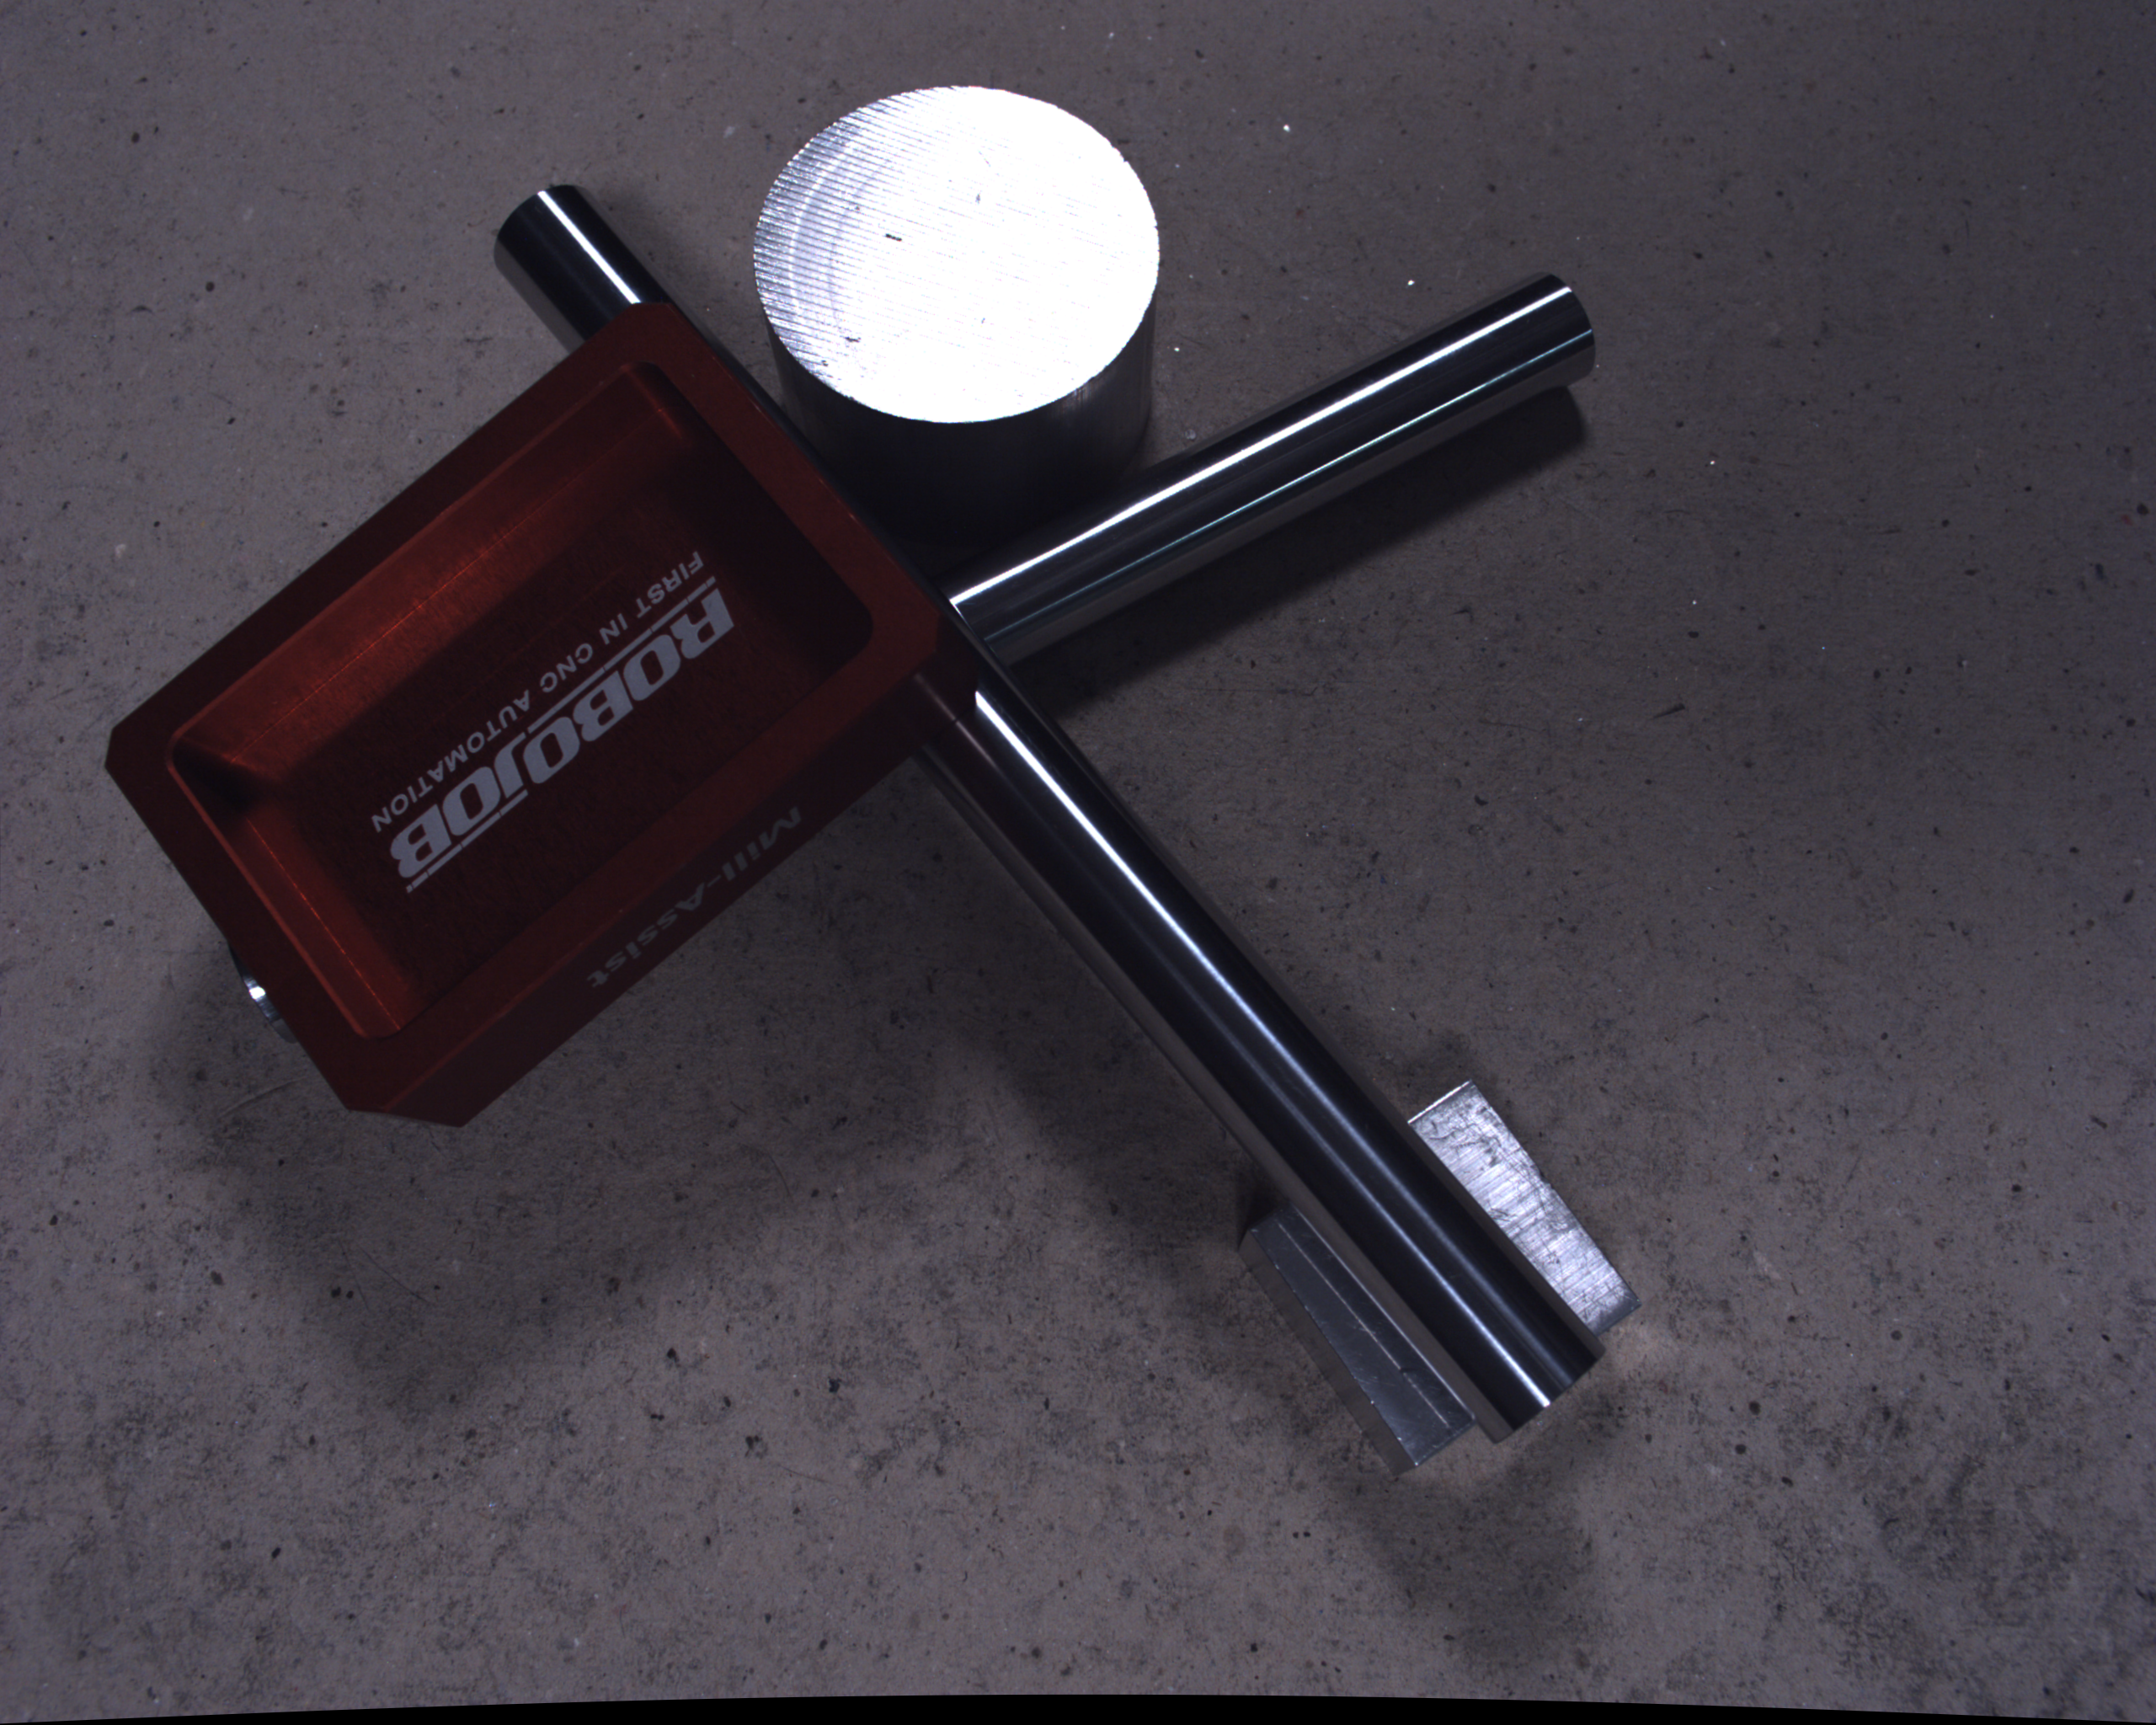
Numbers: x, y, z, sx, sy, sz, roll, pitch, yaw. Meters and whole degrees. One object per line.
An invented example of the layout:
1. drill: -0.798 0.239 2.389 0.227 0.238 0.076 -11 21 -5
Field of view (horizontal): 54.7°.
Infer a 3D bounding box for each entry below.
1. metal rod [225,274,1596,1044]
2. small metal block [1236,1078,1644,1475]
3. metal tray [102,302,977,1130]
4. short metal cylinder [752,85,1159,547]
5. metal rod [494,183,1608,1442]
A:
1. metal rod: -0.026 -0.046 0.426 0.302 0.025 0.025 -28 73 -10
2. small metal block: 0.065 0.076 0.382 0.050 0.025 0.050 -32 73 -11
3. metal tray: -0.096 -0.026 0.374 0.130 0.030 0.090 -40 74 -2
4. short metal cylinder: -0.024 -0.113 0.436 0.081 0.050 0.080 0 70 0
5. metal rod: -0.015 -0.020 0.390 0.025 0.025 0.300 -37 75 -13
